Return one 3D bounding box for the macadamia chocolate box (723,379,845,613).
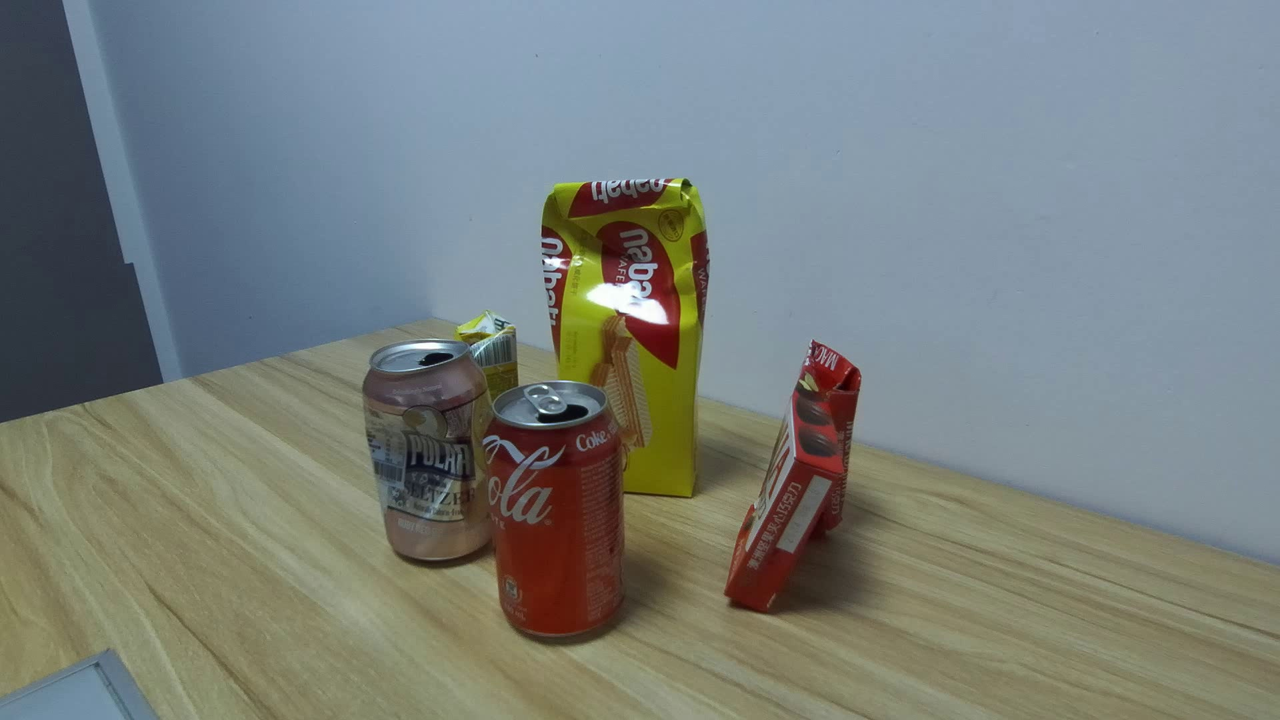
[{"bbox_3d":[0.086,0.060,0.392,0.056,0.112,0.127,8,21,19],"label":"macadamia chocolate box"}]

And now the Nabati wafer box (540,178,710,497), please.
[{"bbox_3d":[-0.009,-0.012,0.463,0.113,0.205,0.042,1,18,11],"label":"Nabati wafer box"}]

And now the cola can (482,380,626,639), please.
[{"bbox_3d":[-0.041,0.073,0.353,0.068,0.120,0.068,-1,20,1],"label":"cola can"}]

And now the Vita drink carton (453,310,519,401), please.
[{"bbox_3d":[-0.119,0.024,0.513,0.047,0.109,0.071,-7,17,-29],"label":"Vita drink carton"}]

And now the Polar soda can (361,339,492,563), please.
[{"bbox_3d":[-0.120,0.054,0.412,0.067,0.122,0.074,-12,21,-27],"label":"Polar soda can"}]
